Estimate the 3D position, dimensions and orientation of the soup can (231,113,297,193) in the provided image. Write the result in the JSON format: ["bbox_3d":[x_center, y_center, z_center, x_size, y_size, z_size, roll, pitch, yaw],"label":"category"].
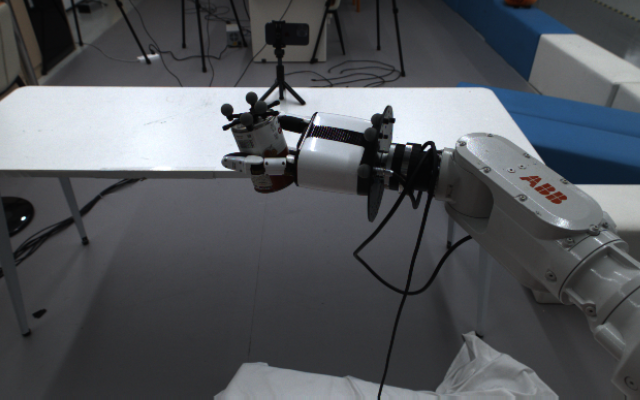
[{"bbox_3d":[-0.078,-0.068,0.688,0.067,0.101,0.067,-14,31,8],"label":"soup can"}]
